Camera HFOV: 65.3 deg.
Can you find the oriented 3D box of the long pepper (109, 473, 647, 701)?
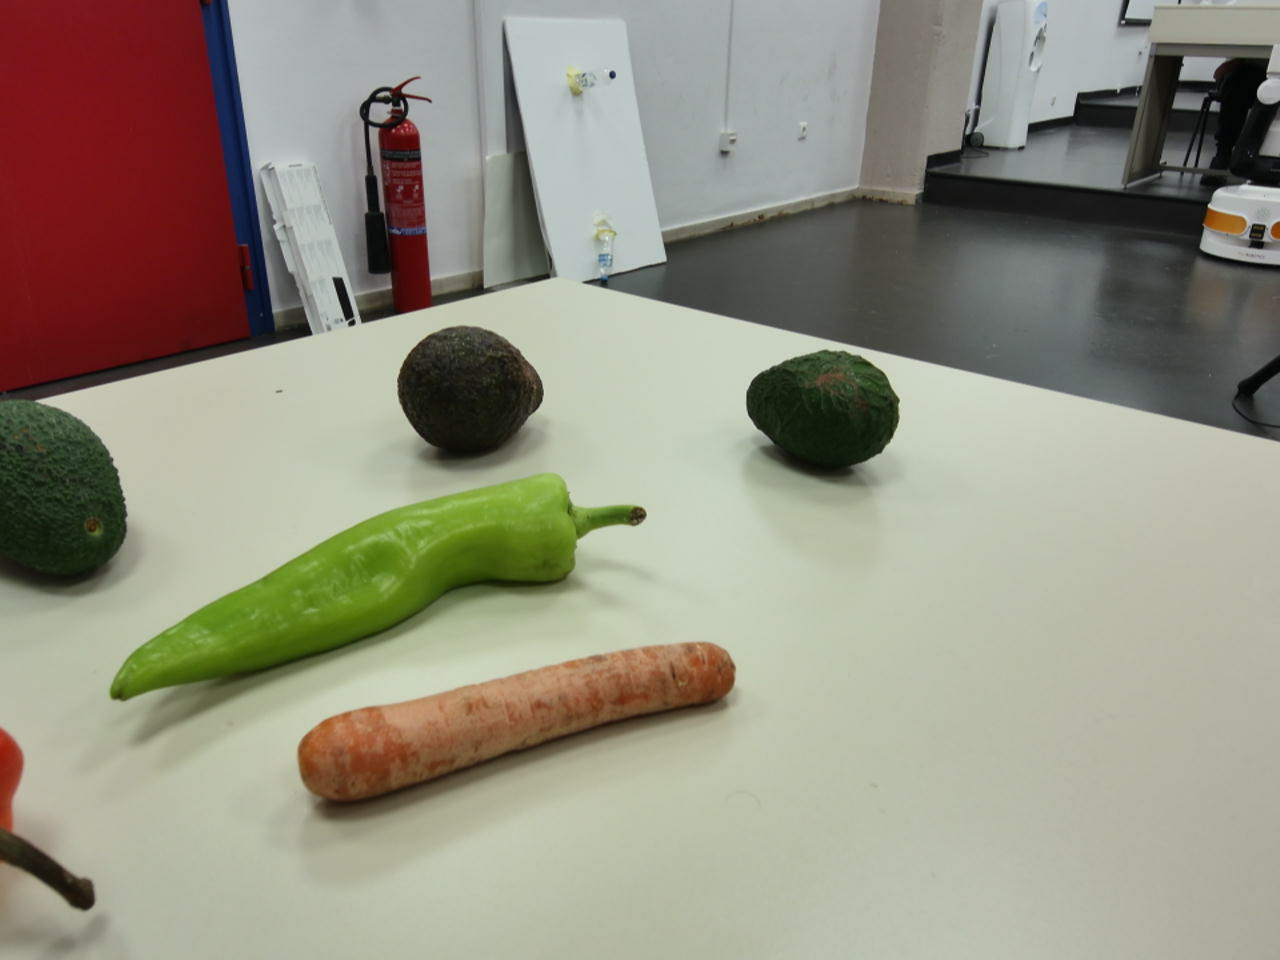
[{"bbox_3d":[-0.098,0.036,0.390,0.204,0.045,0.065,-15,27,-32],"label":"long pepper"}]
